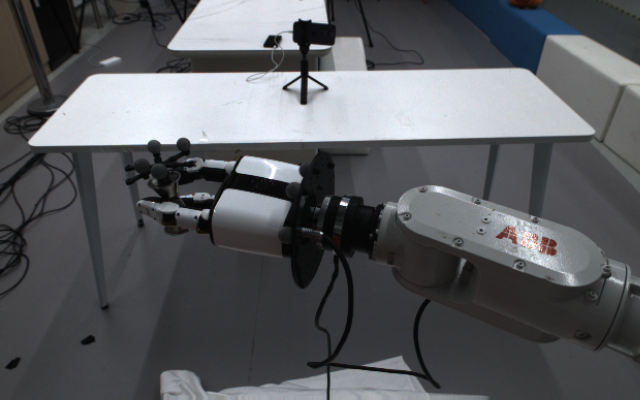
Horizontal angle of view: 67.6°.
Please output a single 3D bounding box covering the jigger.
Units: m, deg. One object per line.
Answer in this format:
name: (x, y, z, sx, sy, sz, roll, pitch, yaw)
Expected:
jigger: (-0.181, 0.001, 0.600, 0.043, 0.071, 0.043, -8, 31, 5)
